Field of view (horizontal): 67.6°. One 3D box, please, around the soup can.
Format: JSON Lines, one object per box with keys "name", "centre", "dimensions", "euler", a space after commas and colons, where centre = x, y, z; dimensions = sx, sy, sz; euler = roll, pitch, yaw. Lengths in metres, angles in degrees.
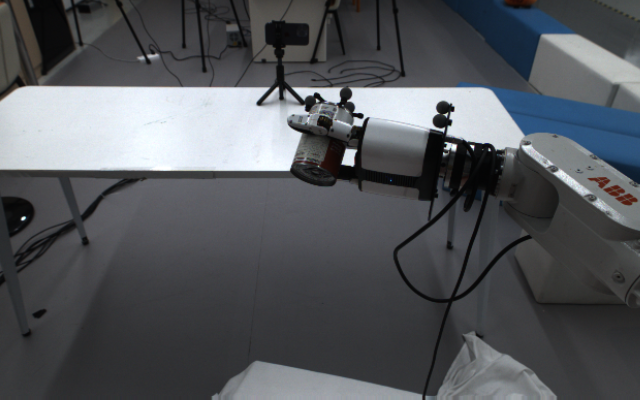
{"name": "soup can", "centre": [0.003, -0.080, 0.686], "dimensions": [0.067, 0.067, 0.101], "euler": [12, 70, 14]}
